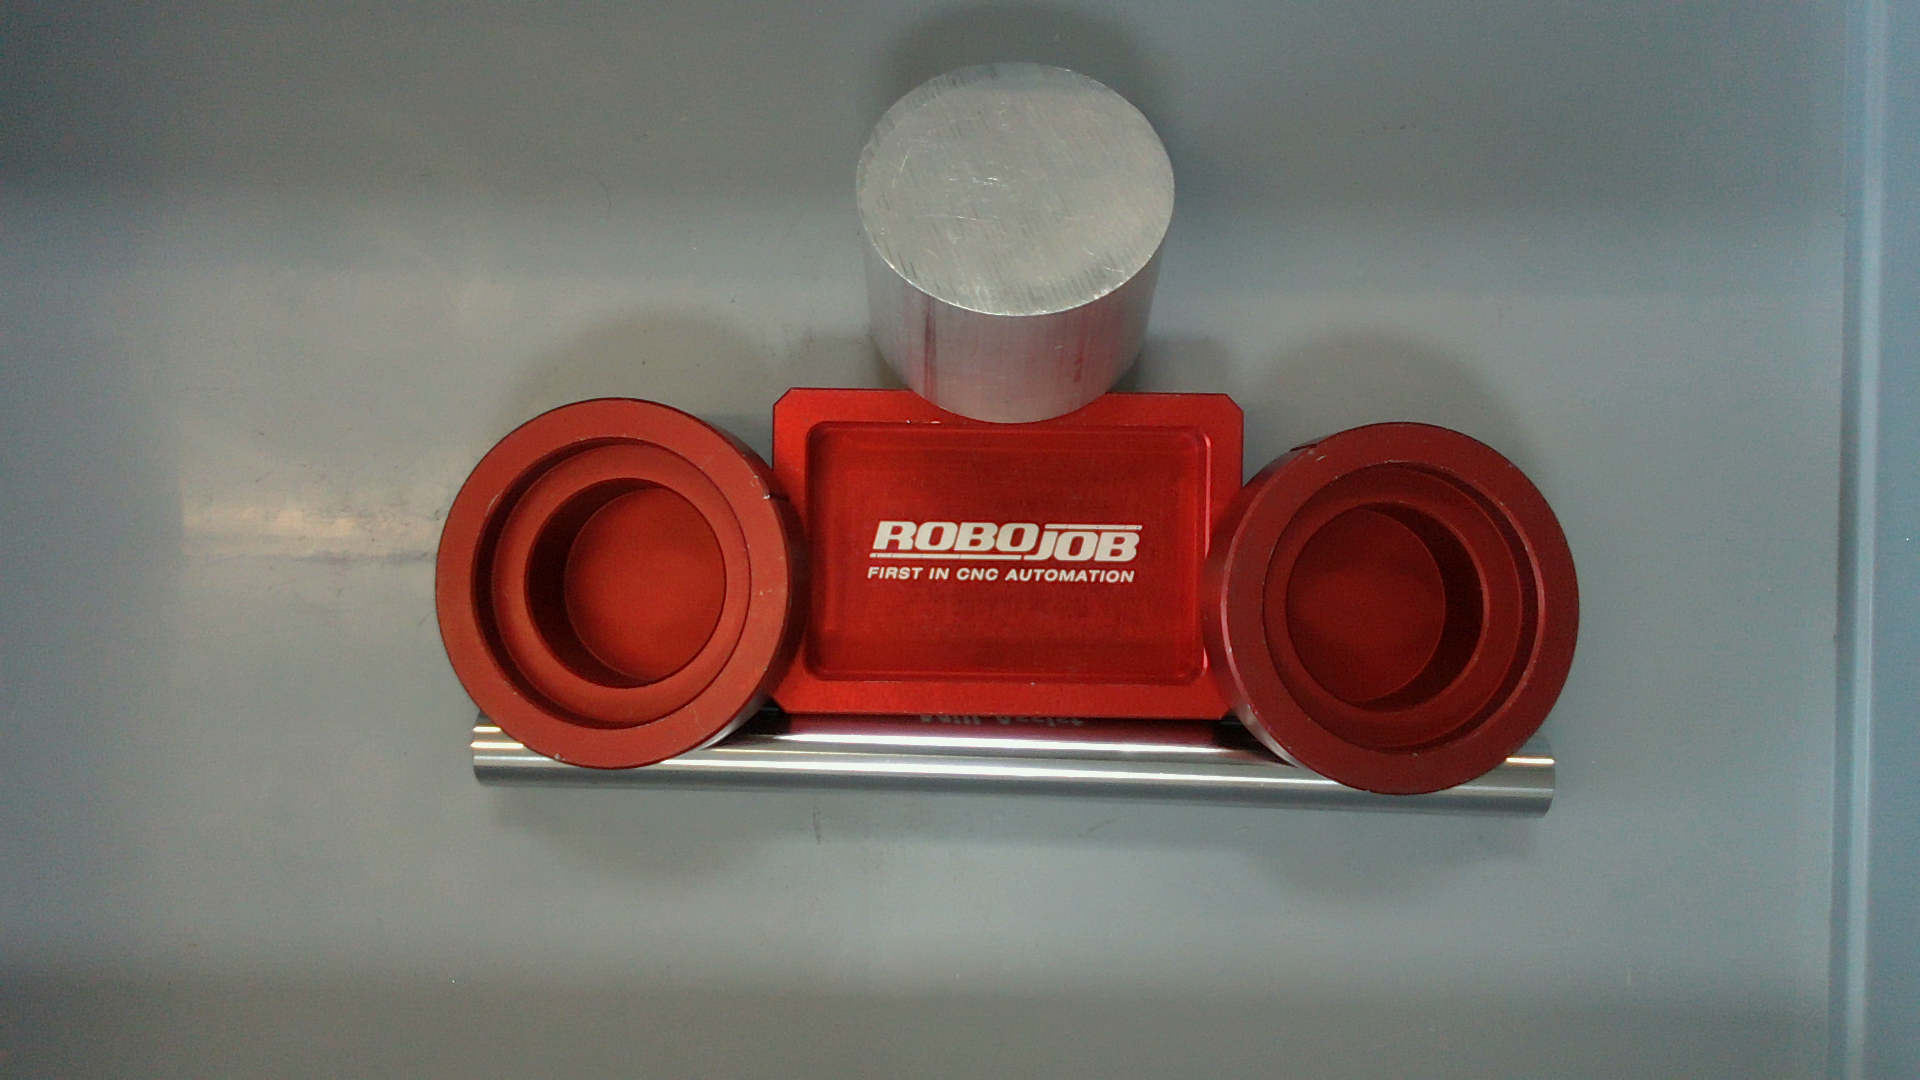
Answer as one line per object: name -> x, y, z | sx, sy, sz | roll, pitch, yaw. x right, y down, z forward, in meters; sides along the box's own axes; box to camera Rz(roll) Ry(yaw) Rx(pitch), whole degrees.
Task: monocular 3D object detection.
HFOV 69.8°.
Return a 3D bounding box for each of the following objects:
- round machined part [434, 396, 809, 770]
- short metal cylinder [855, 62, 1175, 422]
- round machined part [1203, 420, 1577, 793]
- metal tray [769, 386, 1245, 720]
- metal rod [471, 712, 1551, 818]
round machined part -> -0.089, 0.012, 0.380 | 0.098, 0.042, 0.098 | 0, 88, 8
short metal cylinder -> 0.014, -0.079, 0.367 | 0.080, 0.050, 0.080 | 0, 64, 0
round machined part -> 0.114, 0.018, 0.381 | 0.098, 0.042, 0.098 | 0, 88, -8
metal tray -> 0.013, 0.003, 0.391 | 0.130, 0.030, 0.090 | 1, 91, -1
metal rod -> 0.015, 0.063, 0.394 | 0.300, 0.025, 0.025 | 2, 90, 0
